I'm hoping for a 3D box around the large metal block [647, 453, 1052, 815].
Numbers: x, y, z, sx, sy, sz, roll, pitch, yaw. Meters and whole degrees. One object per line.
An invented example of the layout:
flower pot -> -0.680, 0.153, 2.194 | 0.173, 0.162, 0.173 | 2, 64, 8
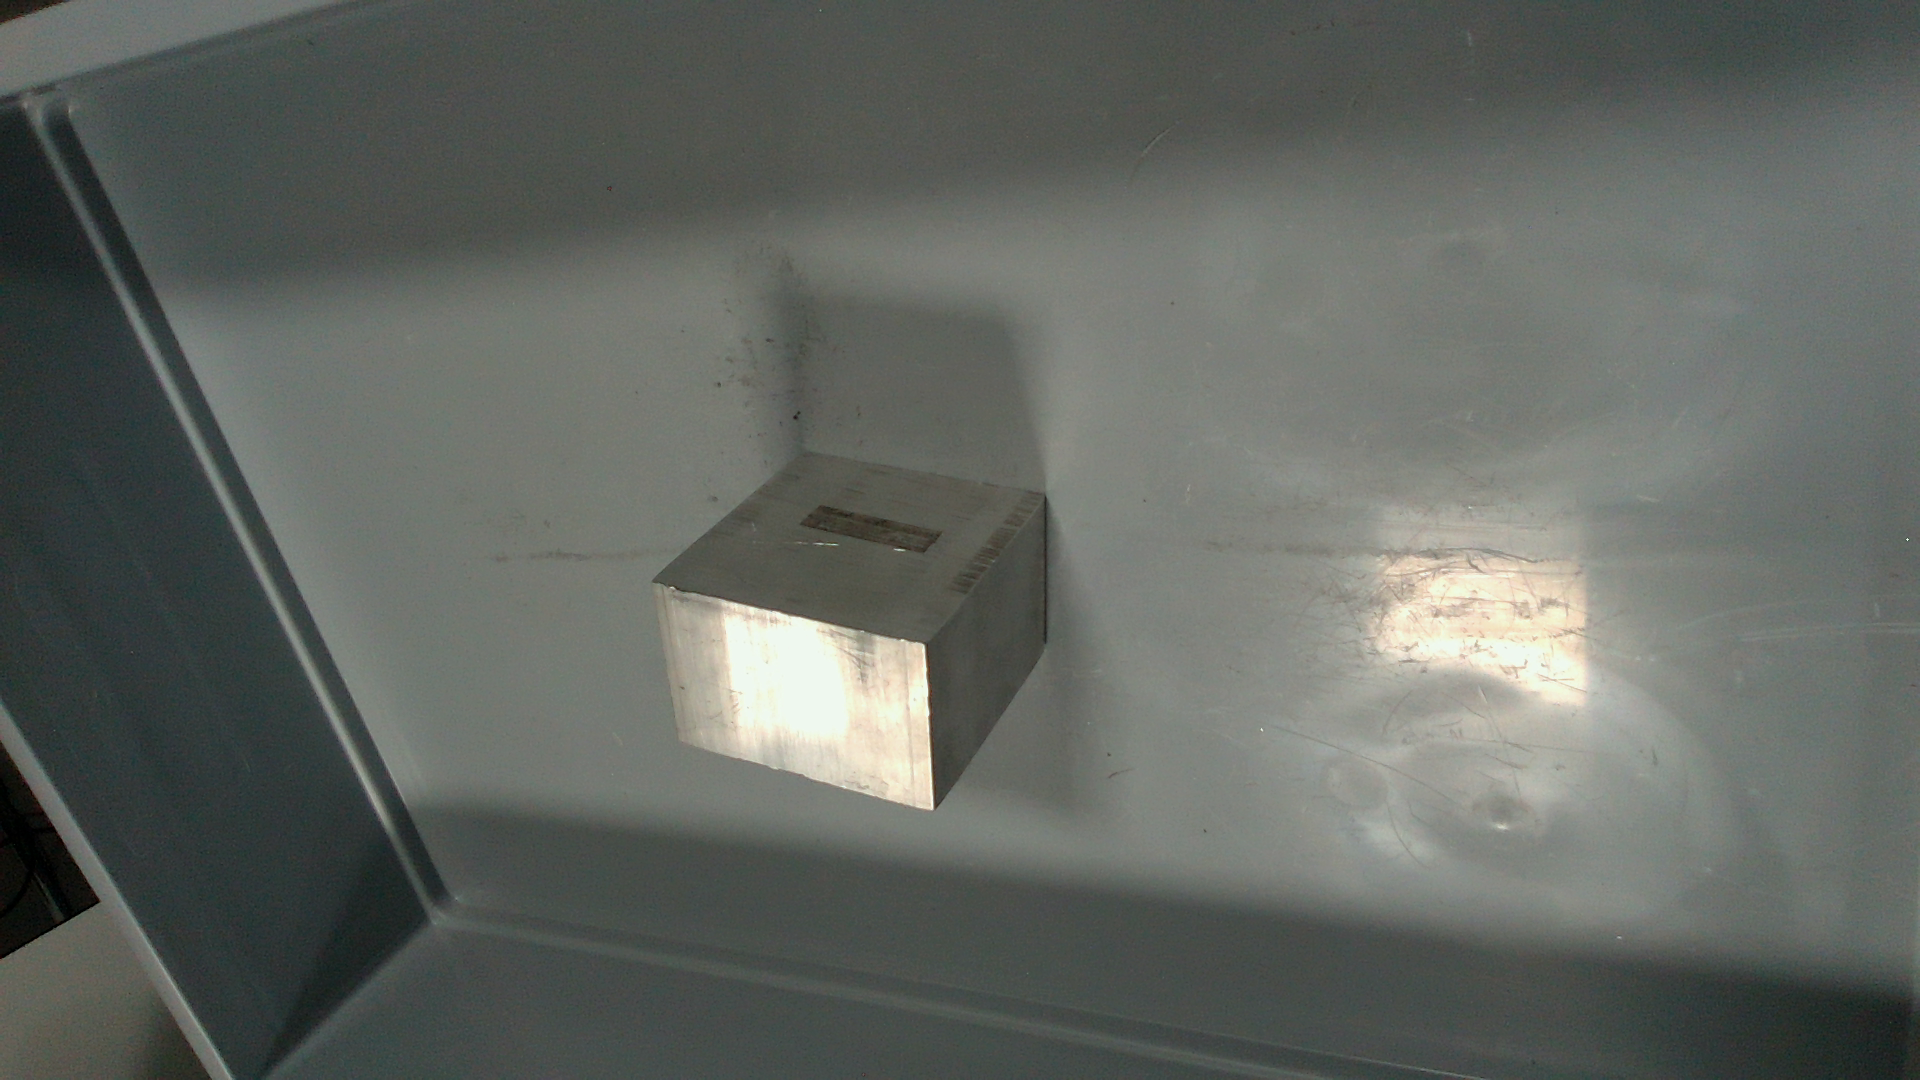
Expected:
large metal block -> -0.026, 0.022, 0.382 | 0.080, 0.080, 0.050 | 12, 123, 22
